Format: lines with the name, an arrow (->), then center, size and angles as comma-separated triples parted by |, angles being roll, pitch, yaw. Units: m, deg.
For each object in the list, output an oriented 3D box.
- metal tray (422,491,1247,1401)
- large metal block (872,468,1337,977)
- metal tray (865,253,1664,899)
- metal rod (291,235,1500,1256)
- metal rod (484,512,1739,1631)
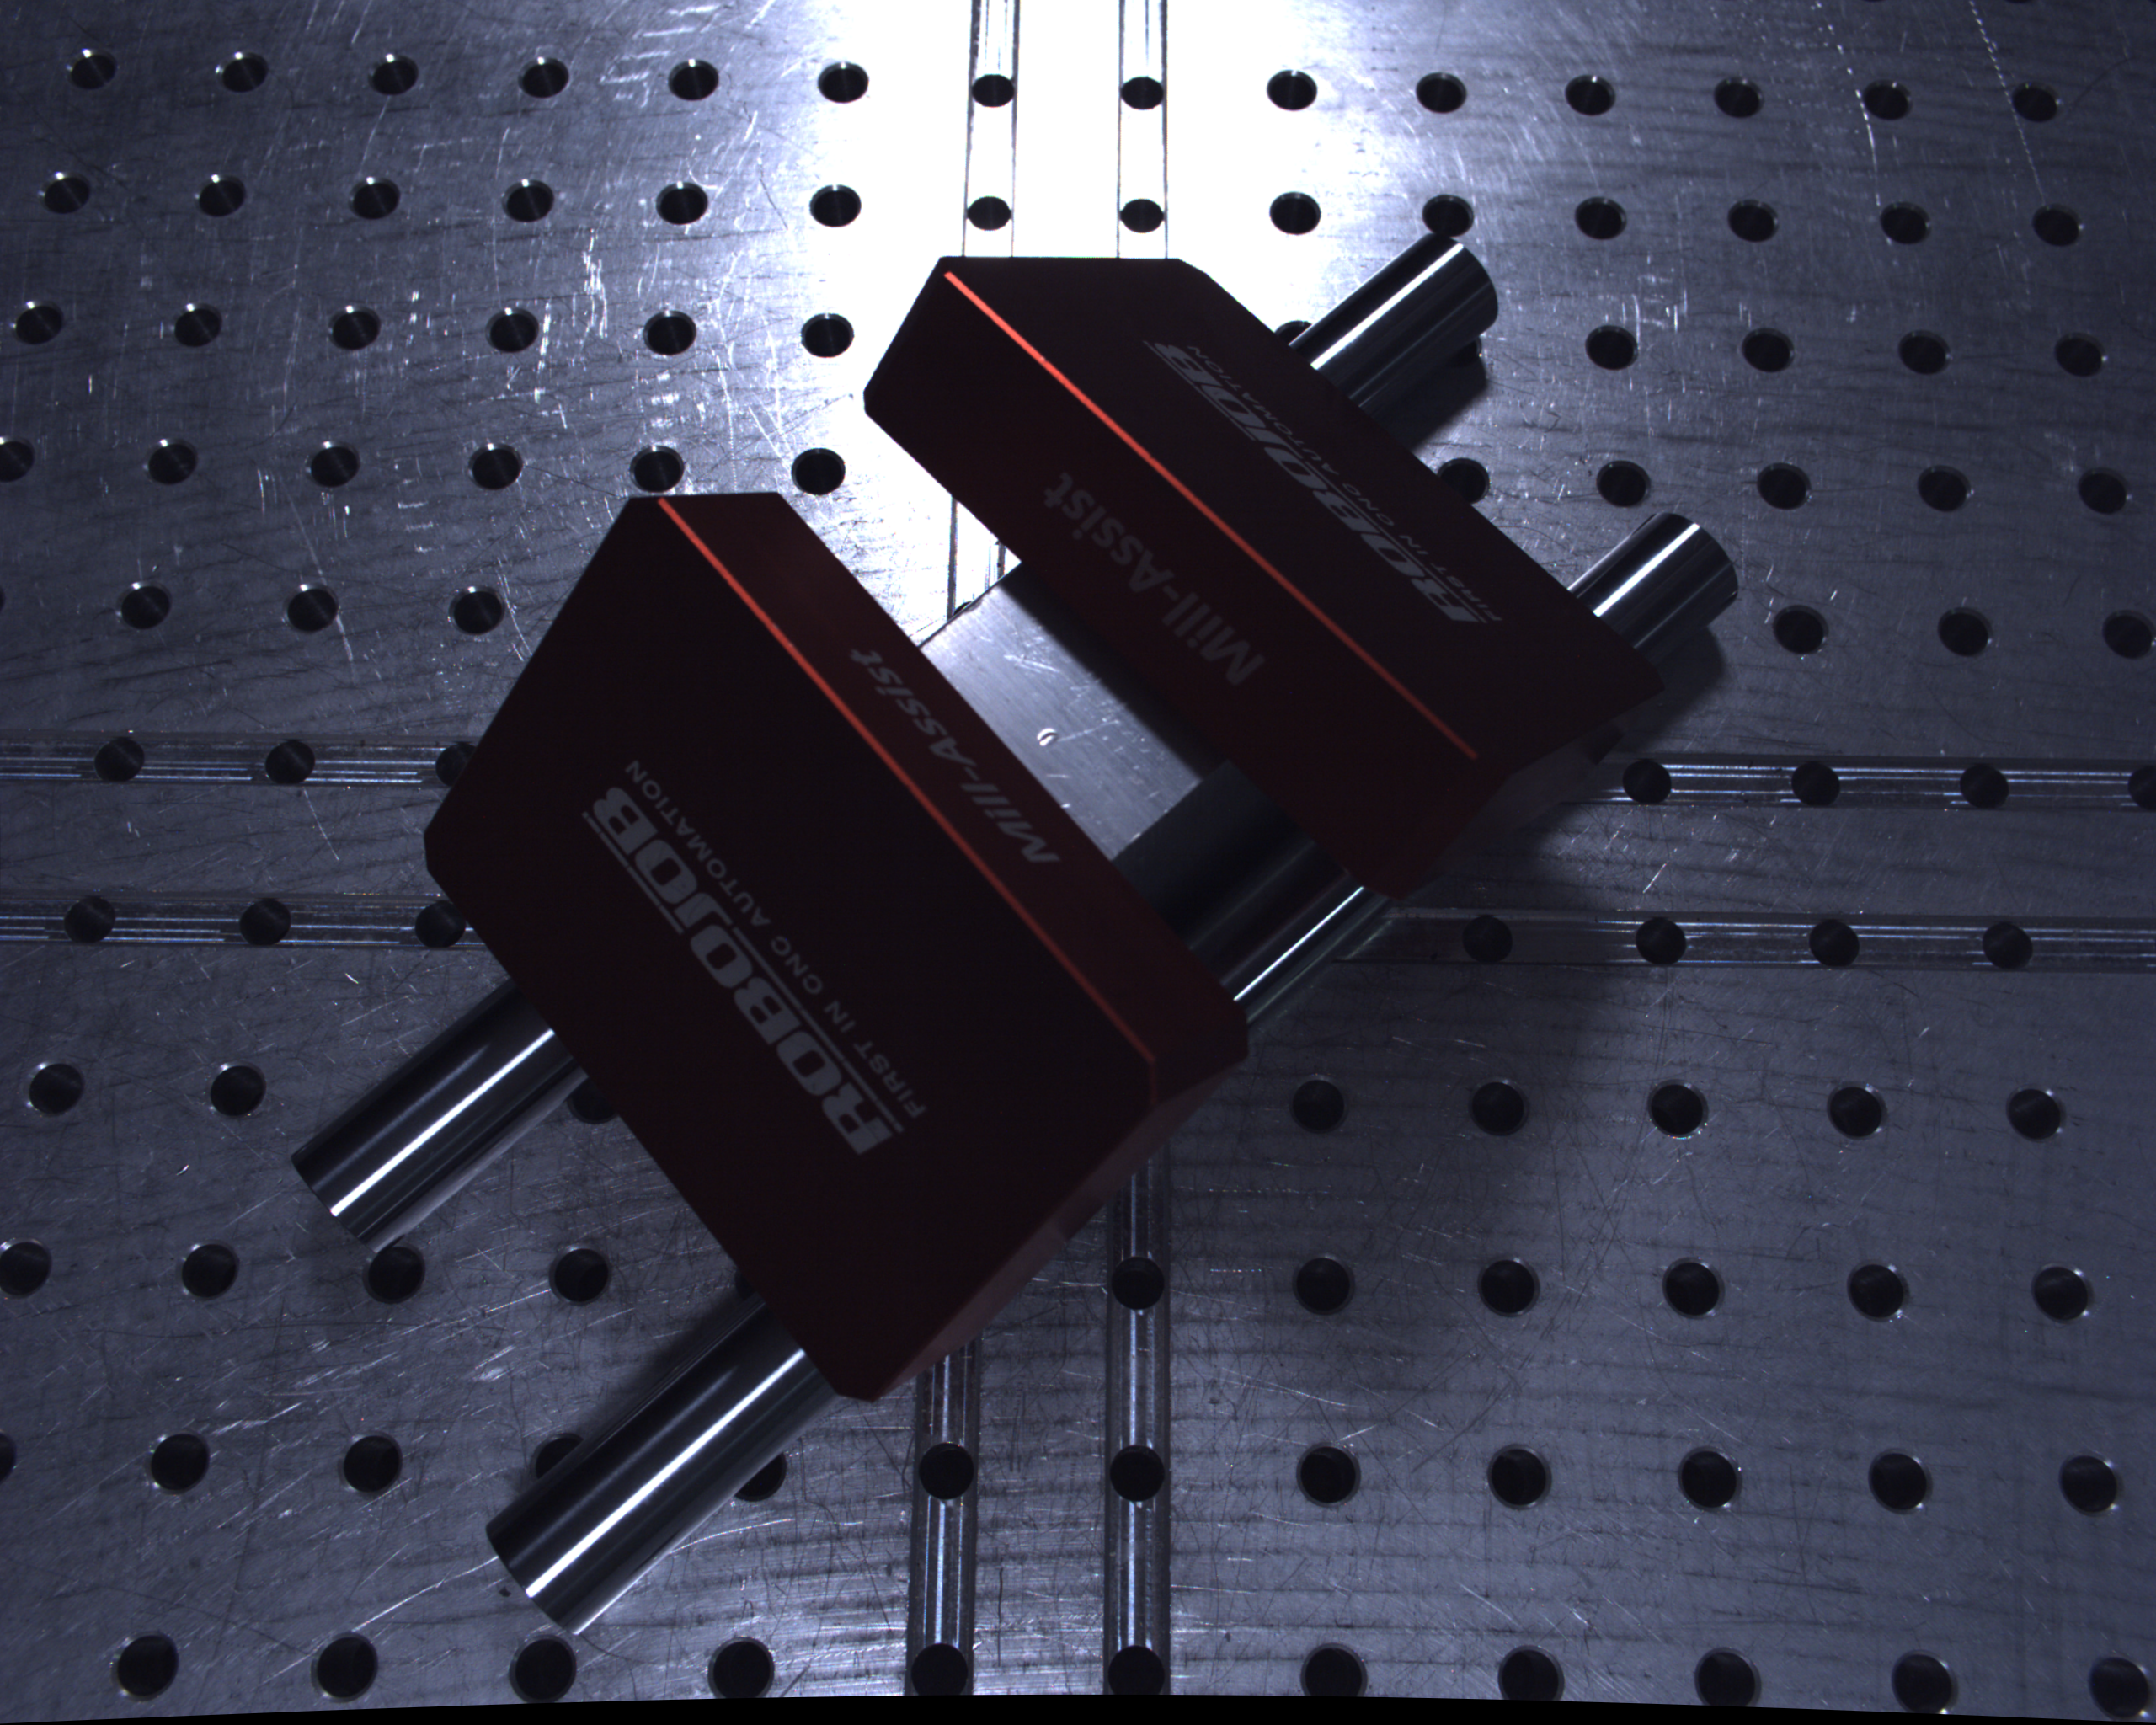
metal tray -> -0.045, 0.012, 0.349 | 0.130, 0.030, 0.090 | 48, 120, 15
large metal block -> 0.001, -0.016, 0.388 | 0.080, 0.080, 0.050 | -40, 75, -13
metal tray -> 0.035, -0.057, 0.375 | 0.130, 0.030, 0.091 | 45, 32, 14
metal rod -> -0.027, -0.032, 0.423 | 0.301, 0.025, 0.025 | -41, 75, -14
metal rod -> 0.016, 0.031, 0.401 | 0.301, 0.025, 0.025 | -40, 75, -14
